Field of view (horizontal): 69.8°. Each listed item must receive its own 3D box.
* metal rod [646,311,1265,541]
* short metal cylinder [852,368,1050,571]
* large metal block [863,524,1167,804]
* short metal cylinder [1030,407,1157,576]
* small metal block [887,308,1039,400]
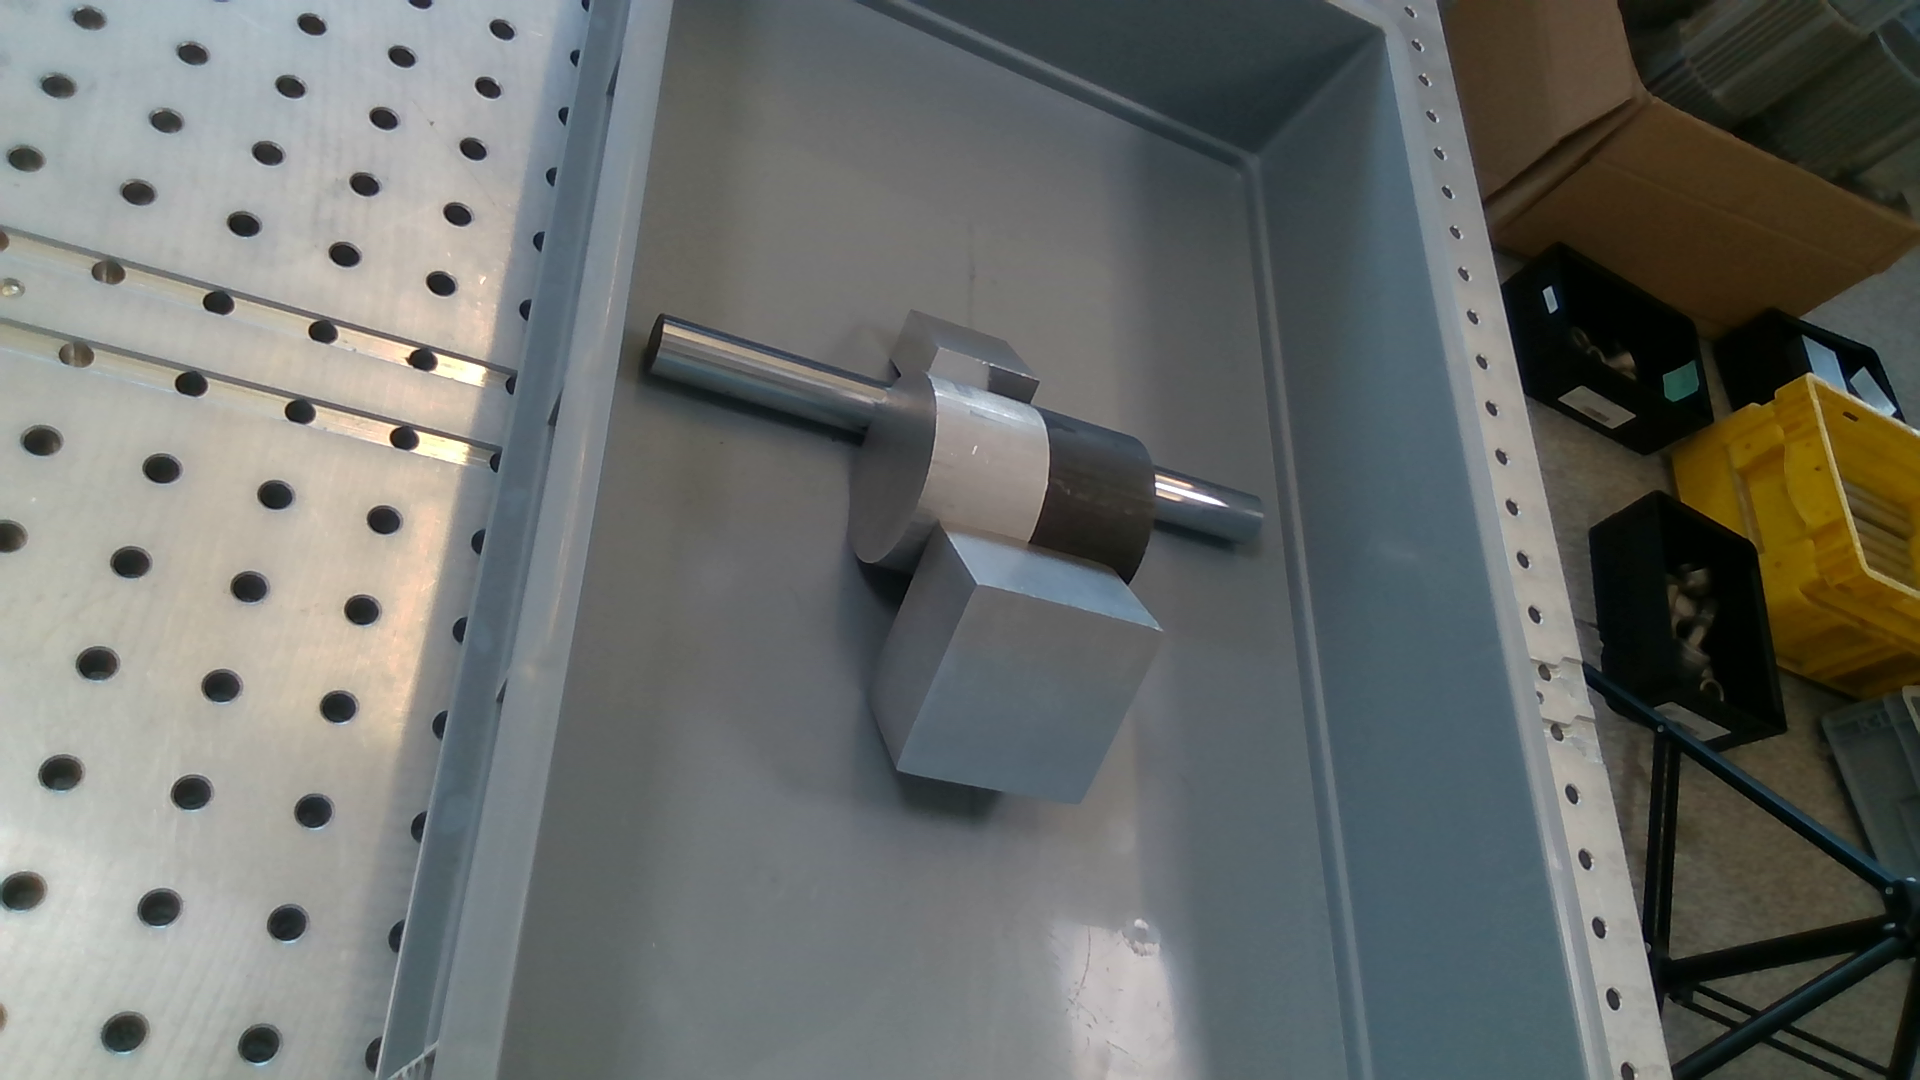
[{"bbox_3d":[0.010,-0.045,0.614,0.300,0.025,0.025,15,58,-25],"label":"metal rod"},{"bbox_3d":[-0.006,-0.024,0.558,0.050,0.080,0.080,15,58,-25],"label":"short metal cylinder"},{"bbox_3d":[0.019,0.047,0.526,0.080,0.080,0.050,15,21,-24],"label":"large metal block"},{"bbox_3d":[0.039,-0.012,0.579,0.050,0.080,0.080,15,58,-25],"label":"short metal cylinder"},{"bbox_3d":[0.001,-0.076,0.611,0.050,0.025,0.050,15,23,-25],"label":"small metal block"}]
